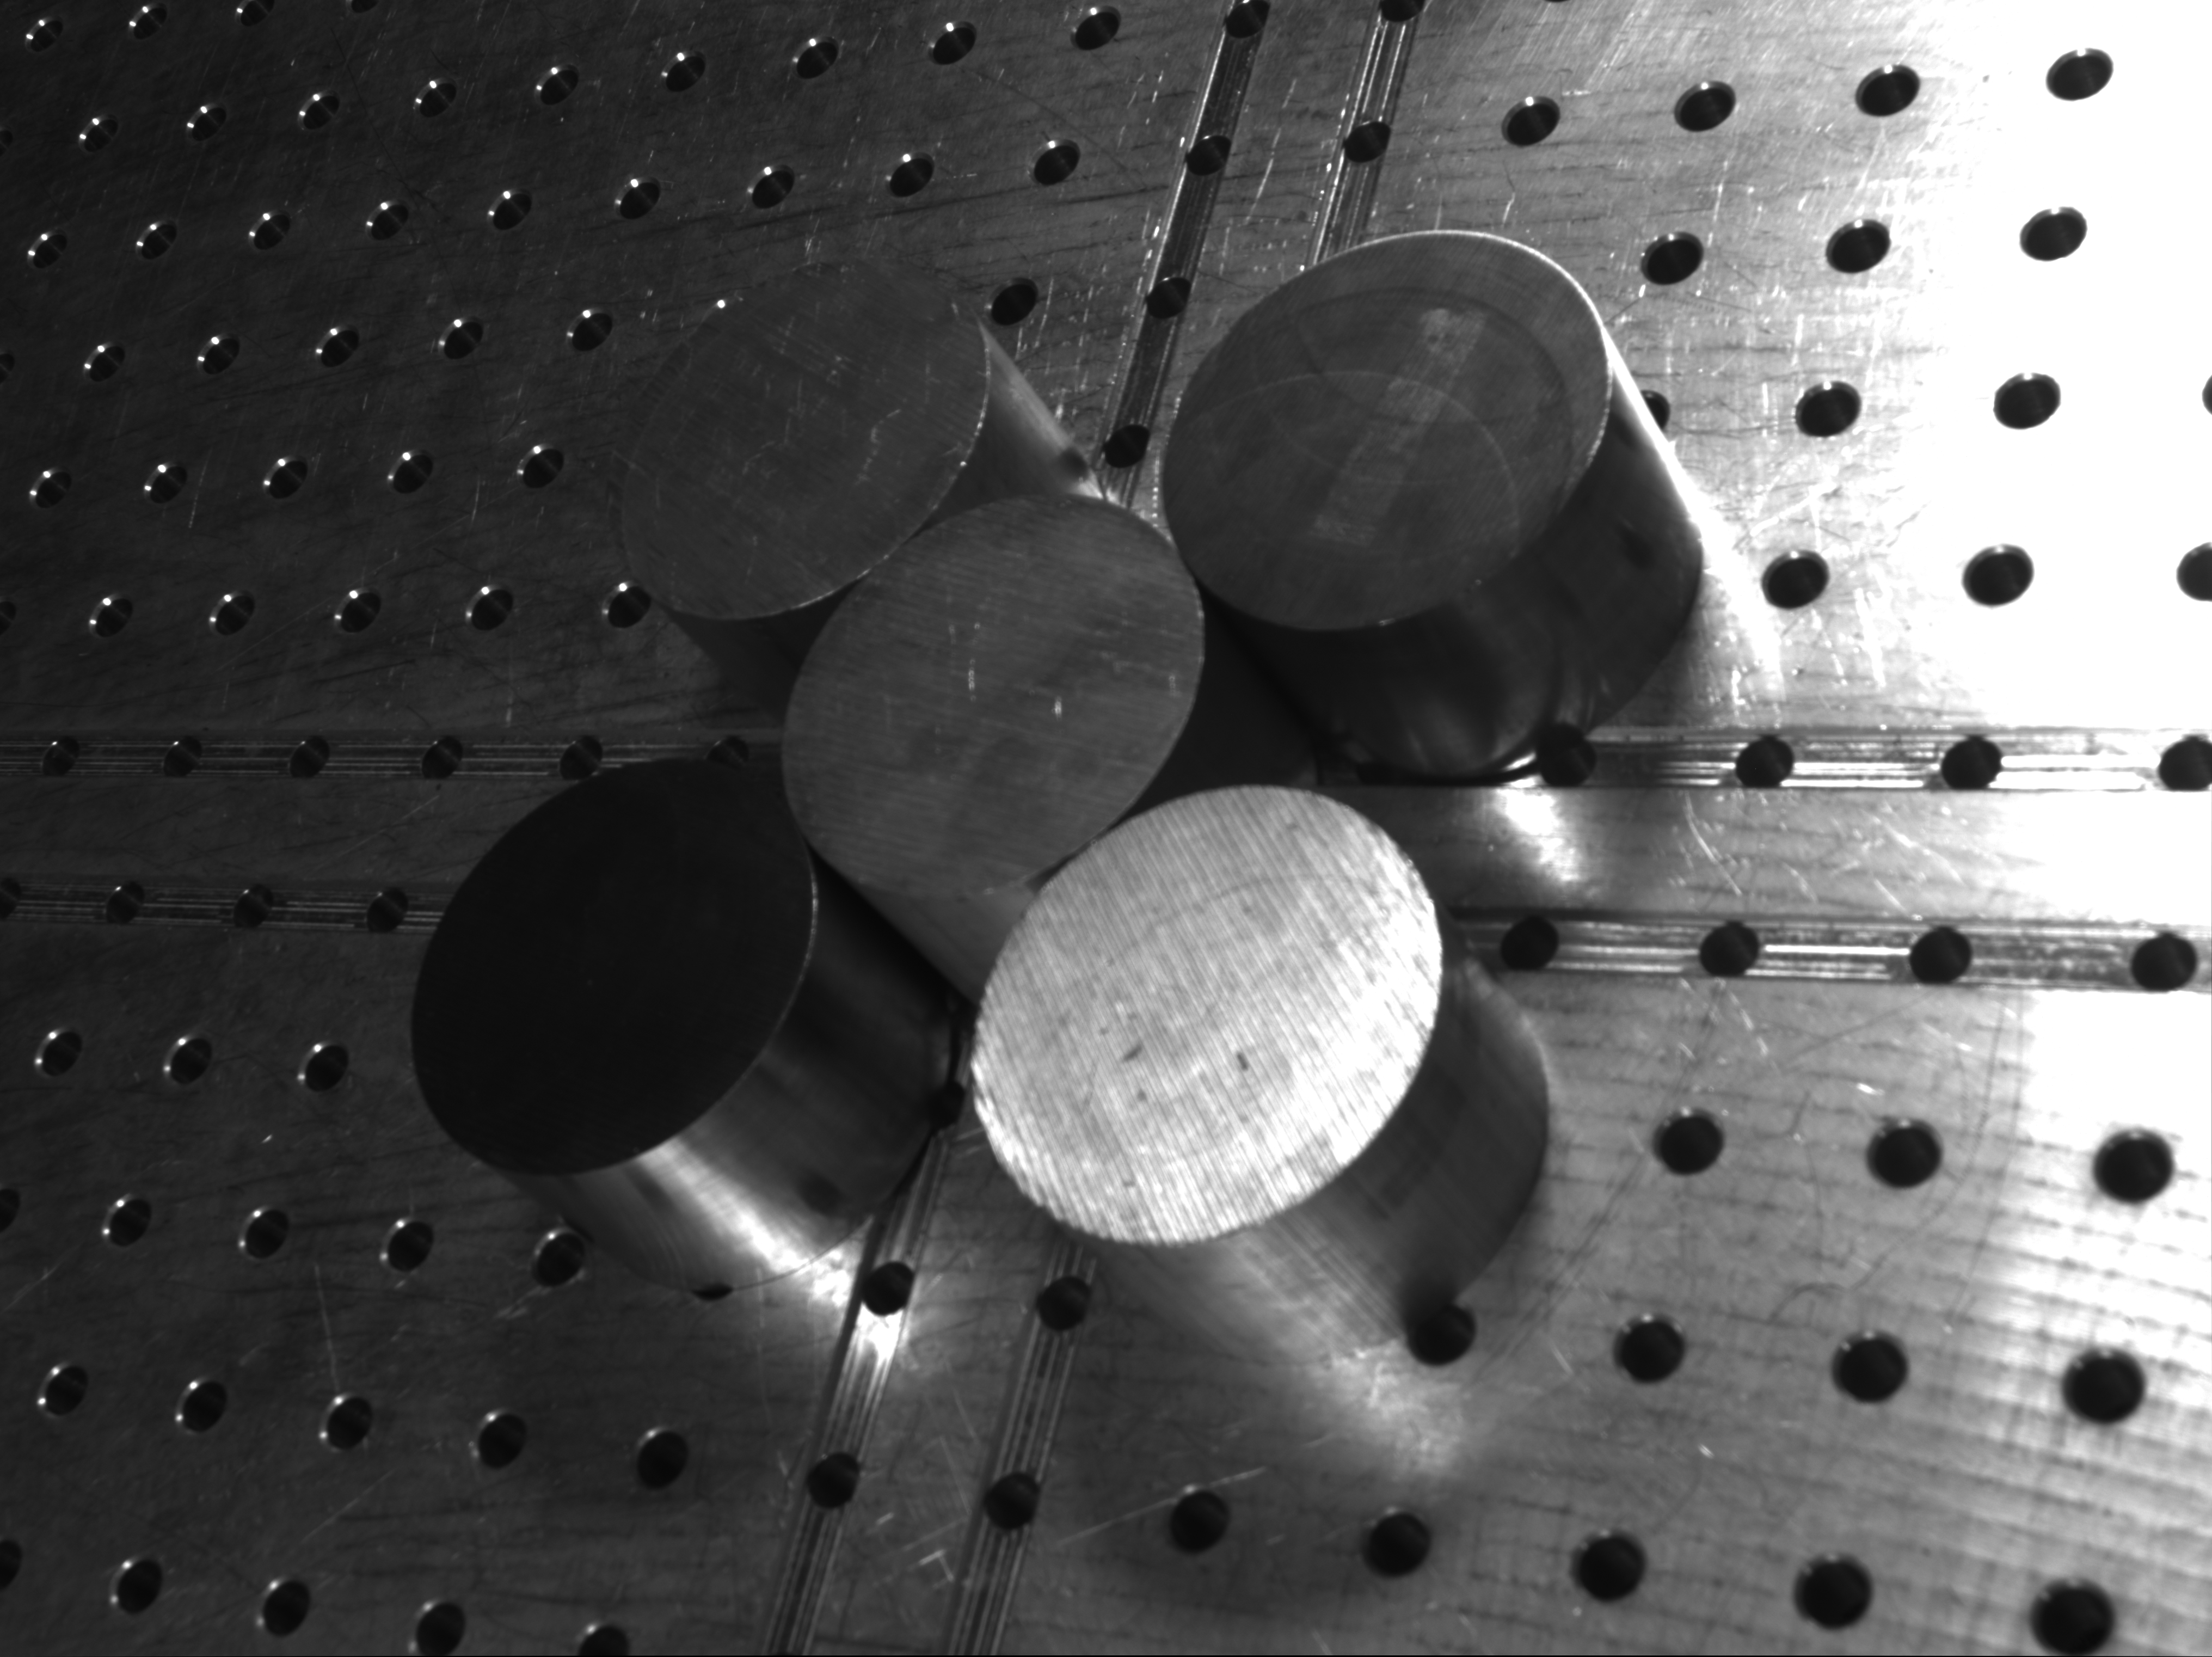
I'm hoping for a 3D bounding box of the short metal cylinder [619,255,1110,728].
[{"bbox_3d":[-0.045,-0.061,0.692,0.080,0.050,0.080,-13,56,21],"label":"short metal cylinder"}]

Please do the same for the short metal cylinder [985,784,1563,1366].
[{"bbox_3d":[0.027,0.040,0.591,0.080,0.050,0.080,-13,56,21],"label":"short metal cylinder"}]

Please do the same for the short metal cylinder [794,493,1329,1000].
[{"bbox_3d":[-0.007,-0.011,0.642,0.080,0.050,0.080,-13,56,21],"label":"short metal cylinder"}]

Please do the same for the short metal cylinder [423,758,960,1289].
[{"bbox_3d":[-0.073,0.035,0.648,0.080,0.050,0.080,-13,56,21],"label":"short metal cylinder"}]

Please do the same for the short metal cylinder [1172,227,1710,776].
[{"bbox_3d":[0.058,-0.056,0.632,0.080,0.050,0.080,-13,56,21],"label":"short metal cylinder"}]
